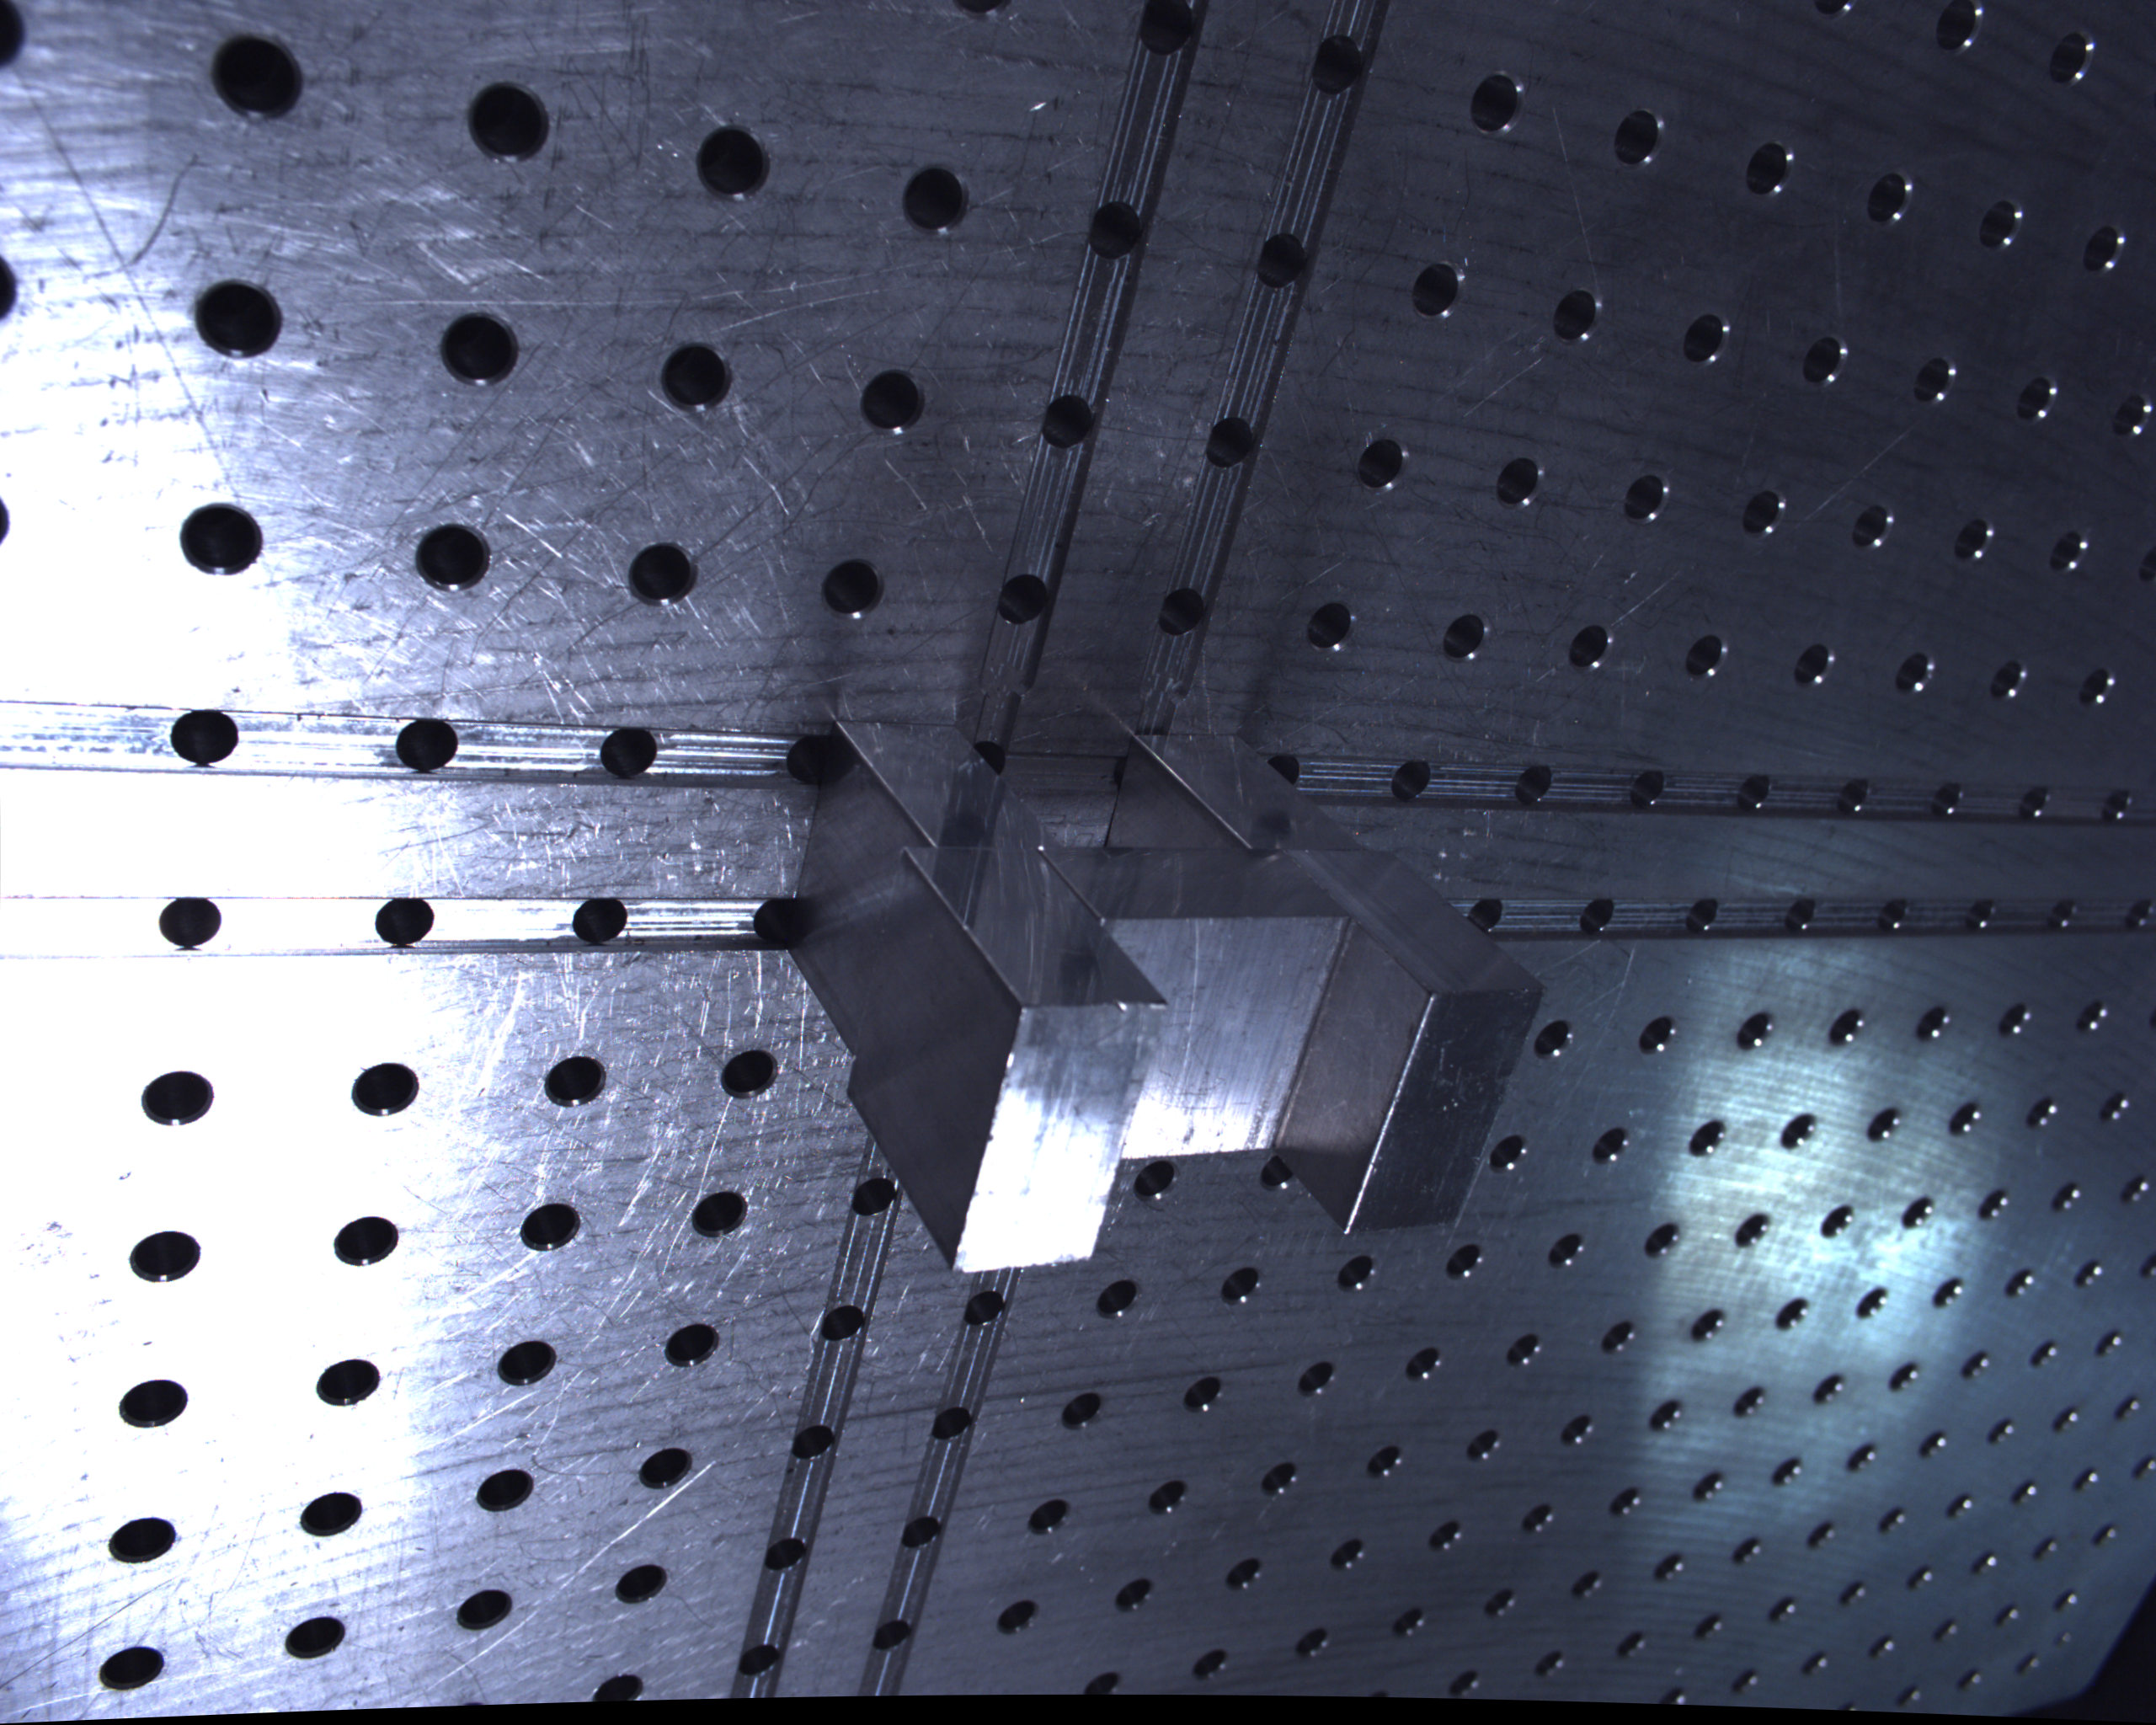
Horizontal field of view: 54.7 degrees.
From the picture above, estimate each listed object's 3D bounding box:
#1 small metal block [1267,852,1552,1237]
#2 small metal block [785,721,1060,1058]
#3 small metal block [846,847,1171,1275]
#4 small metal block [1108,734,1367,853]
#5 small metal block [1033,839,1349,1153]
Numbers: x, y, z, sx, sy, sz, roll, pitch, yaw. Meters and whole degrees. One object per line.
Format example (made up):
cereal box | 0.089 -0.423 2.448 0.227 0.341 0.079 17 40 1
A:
small metal block | 0.053 0.032 0.379 0.025 0.050 0.050 1 118 -29
small metal block | -0.030 0.008 0.384 0.025 0.050 0.050 1 118 -29
small metal block | -0.013 0.031 0.342 0.025 0.050 0.050 1 118 -29
small metal block | 0.027 0.008 0.416 0.025 0.050 0.050 -1 119 -29
small metal block | 0.014 0.024 0.371 0.050 0.025 0.050 1 118 -29
